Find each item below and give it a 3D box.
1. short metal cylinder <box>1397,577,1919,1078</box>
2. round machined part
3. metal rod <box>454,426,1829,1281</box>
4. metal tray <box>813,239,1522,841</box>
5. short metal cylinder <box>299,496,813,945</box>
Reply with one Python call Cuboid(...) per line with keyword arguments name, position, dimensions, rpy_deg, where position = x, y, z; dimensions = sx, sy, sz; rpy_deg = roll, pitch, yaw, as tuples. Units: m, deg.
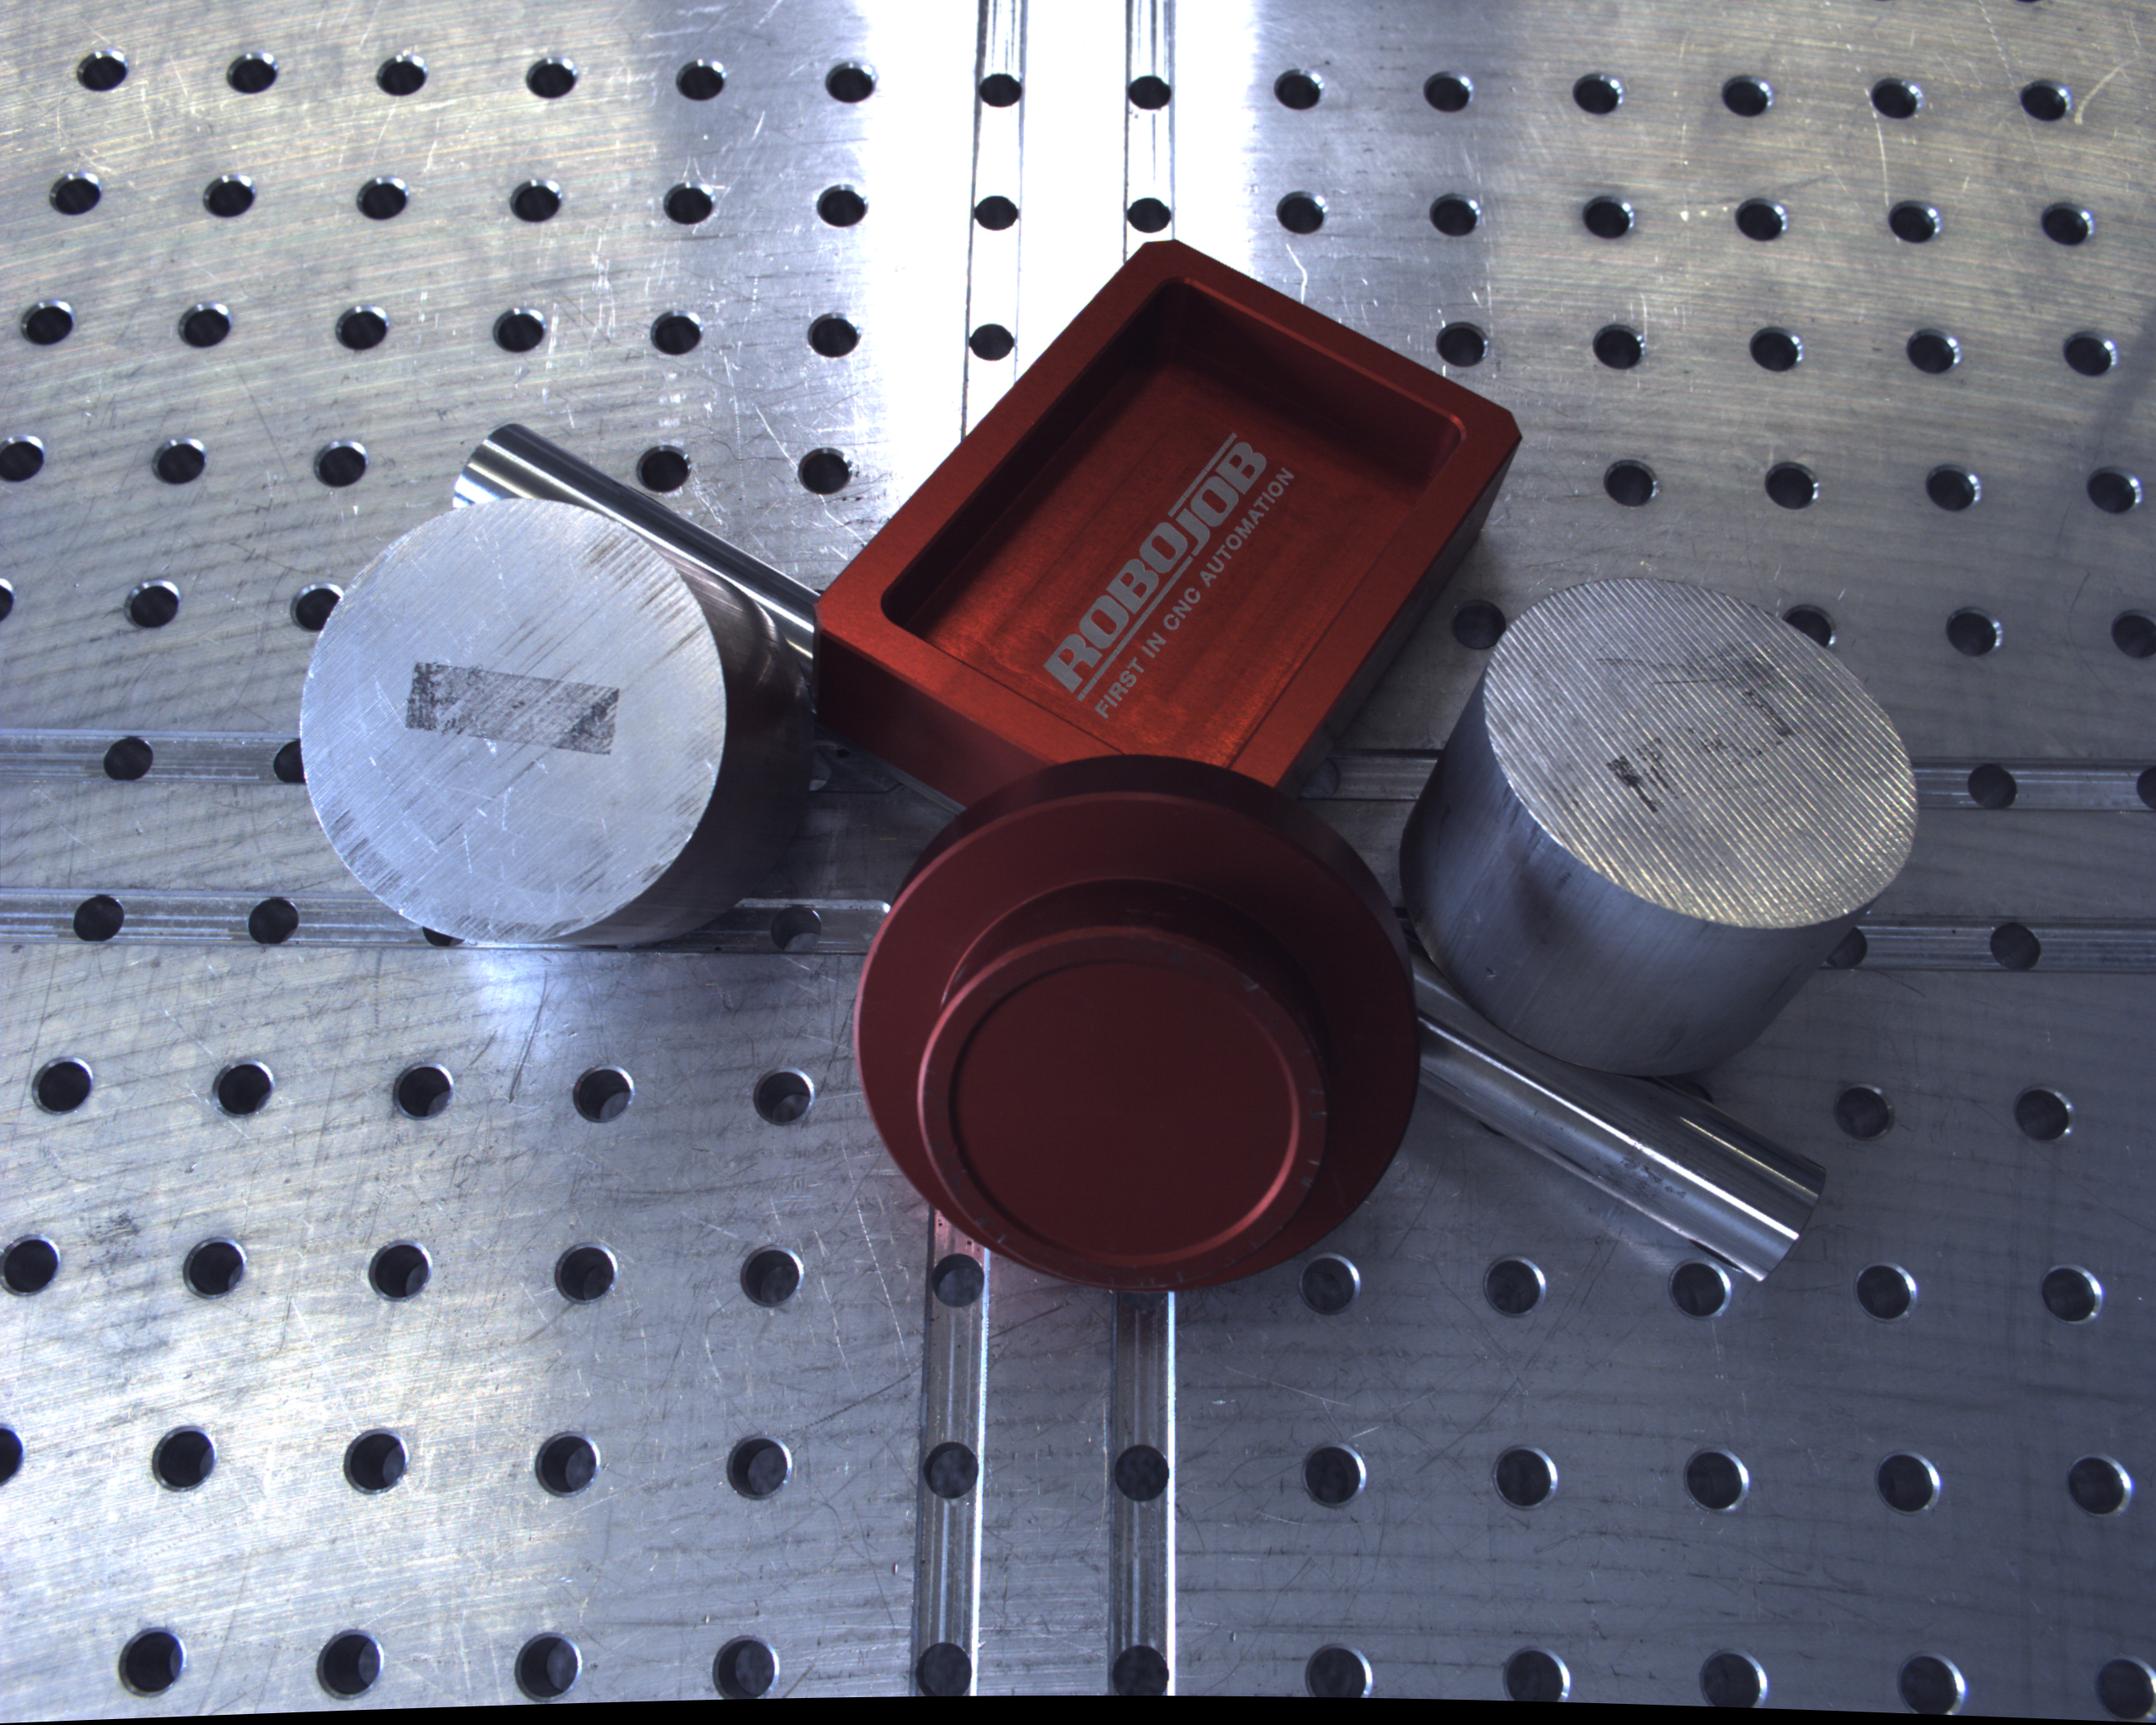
Cuboid(name="short metal cylinder", position=(0.106, -0.007, 0.389), dimensions=(0.081, 0.050, 0.080), rpy_deg=(7, 53, -8))
Cuboid(name="round machined part", position=(0.009, 0.034, 0.361), dimensions=(0.099, 0.042, 0.097), rpy_deg=(2, 113, 5))
Cuboid(name="metal rod", position=(0.005, -0.007, 0.414), dimensions=(0.301, 0.025, 0.025), rpy_deg=(30, 73, 10))
Cuboid(name="metal tray", position=(0.019, -0.060, 0.416), dimensions=(0.090, 0.030, 0.130), rpy_deg=(30, 59, 10))
Cuboid(name="short metal cylinder", position=(-0.096, -0.024, 0.394), dimensions=(0.080, 0.050, 0.080), rpy_deg=(-1, 87, 10))
